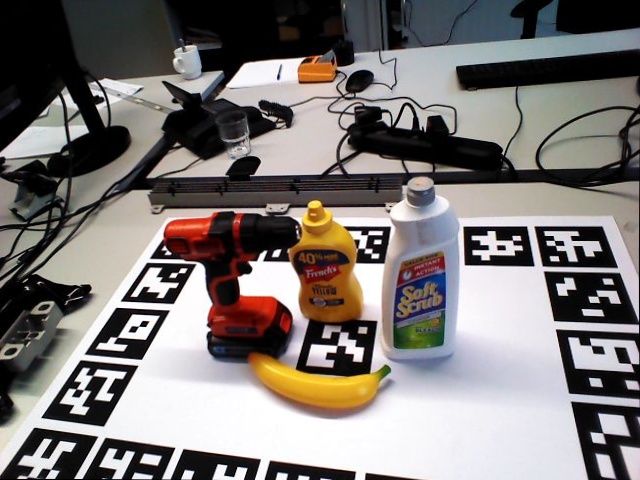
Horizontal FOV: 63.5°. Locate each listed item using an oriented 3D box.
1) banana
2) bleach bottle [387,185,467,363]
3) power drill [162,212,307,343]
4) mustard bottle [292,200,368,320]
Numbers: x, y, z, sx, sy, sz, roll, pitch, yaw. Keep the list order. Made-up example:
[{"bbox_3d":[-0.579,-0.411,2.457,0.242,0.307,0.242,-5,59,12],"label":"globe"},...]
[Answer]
[{"bbox_3d":[0.001,0.174,0.651,0.198,0.039,0.074,1,43,18],"label":"banana"},{"bbox_3d":[0.124,0.046,0.625,0.103,0.251,0.067,-5,39,8],"label":"bleach bottle"},{"bbox_3d":[-0.102,0.050,0.682,0.185,0.187,0.057,0,32,10],"label":"power drill"},{"bbox_3d":[0.012,0.026,0.714,0.096,0.192,0.058,1,39,14],"label":"mustard bottle"}]
